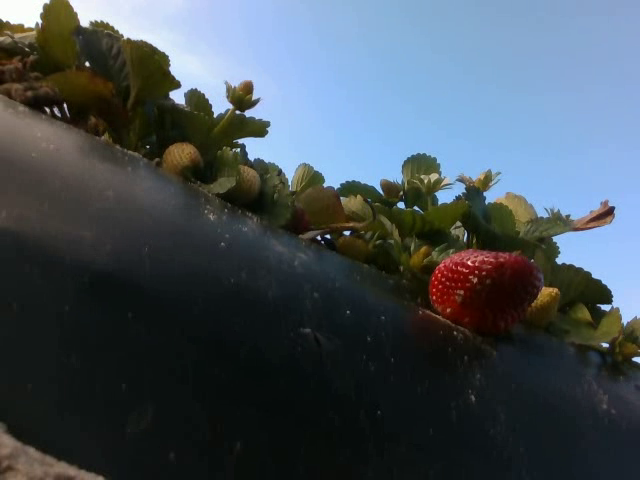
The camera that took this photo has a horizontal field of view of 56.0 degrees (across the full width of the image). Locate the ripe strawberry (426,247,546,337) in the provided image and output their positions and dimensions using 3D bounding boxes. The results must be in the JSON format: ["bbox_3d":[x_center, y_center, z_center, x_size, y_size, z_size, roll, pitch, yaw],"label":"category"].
[{"bbox_3d":[0.089,0.020,0.313,0.052,0.045,0.068,25,-22,-7],"label":"ripe strawberry"}]
